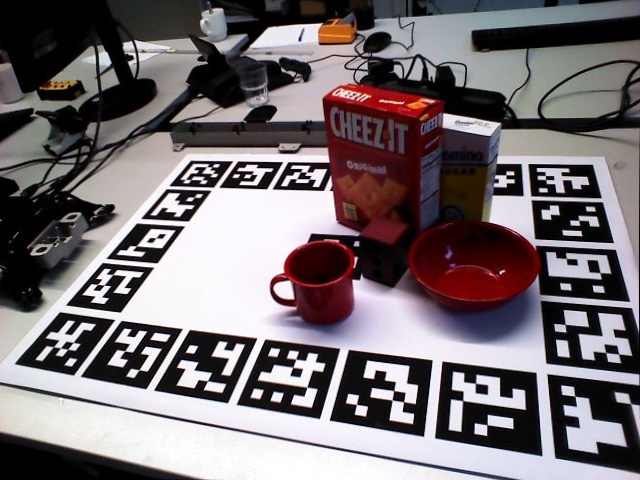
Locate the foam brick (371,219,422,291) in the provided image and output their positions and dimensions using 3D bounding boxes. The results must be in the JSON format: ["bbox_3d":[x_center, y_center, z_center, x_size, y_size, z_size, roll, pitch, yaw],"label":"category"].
[{"bbox_3d":[0.108,0.020,0.718,0.053,0.078,0.051,14,42,30],"label":"foam brick"}]

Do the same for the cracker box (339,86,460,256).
[{"bbox_3d":[0.111,-0.098,0.755,0.071,0.214,0.165,-33,43,-31],"label":"cracker box"}]

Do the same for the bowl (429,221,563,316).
[{"bbox_3d":[0.215,0.044,0.654,0.162,0.055,0.161,-7,37,5],"label":"bowl"}]

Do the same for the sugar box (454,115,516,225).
[{"bbox_3d":[0.223,-0.086,0.740,0.093,0.177,0.045,19,46,34],"label":"sugar box"}]

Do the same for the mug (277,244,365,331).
[{"bbox_3d":[0.002,0.064,0.670,0.118,0.081,0.092,-3,29,12],"label":"mug"}]
